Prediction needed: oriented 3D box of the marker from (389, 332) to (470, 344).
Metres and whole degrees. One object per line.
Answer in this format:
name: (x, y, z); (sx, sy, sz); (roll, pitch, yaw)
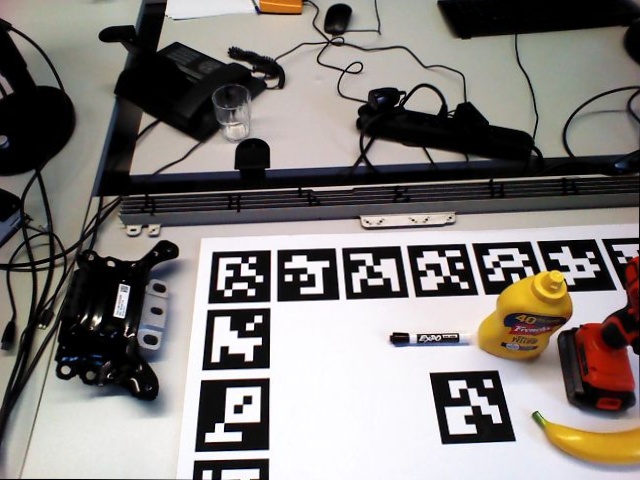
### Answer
marker: (0.168, 0.151, 0.798); (0.121, 0.020, 0.019); (-1, 57, 1)

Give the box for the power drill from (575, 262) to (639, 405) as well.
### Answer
power drill: (0.402, 0.144, 0.672); (0.057, 0.188, 0.183); (10, 54, 5)

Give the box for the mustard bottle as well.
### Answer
mustard bottle: (0.294, 0.105, 0.721); (0.096, 0.192, 0.058); (7, 56, 5)

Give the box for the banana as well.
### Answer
banana: (0.396, 0.271, 0.702); (0.198, 0.039, 0.074); (3, 58, 6)
